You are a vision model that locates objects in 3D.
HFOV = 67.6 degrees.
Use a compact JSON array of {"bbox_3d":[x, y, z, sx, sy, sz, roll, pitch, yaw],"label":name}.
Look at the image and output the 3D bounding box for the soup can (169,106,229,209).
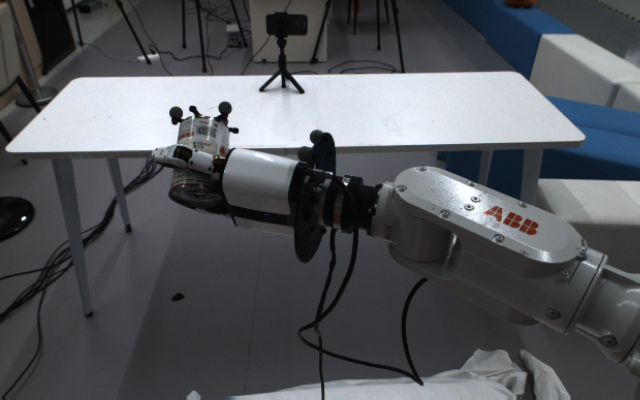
[{"bbox_3d":[-0.153,-0.048,0.623,0.067,0.067,0.101,1,68,-1],"label":"soup can"}]
